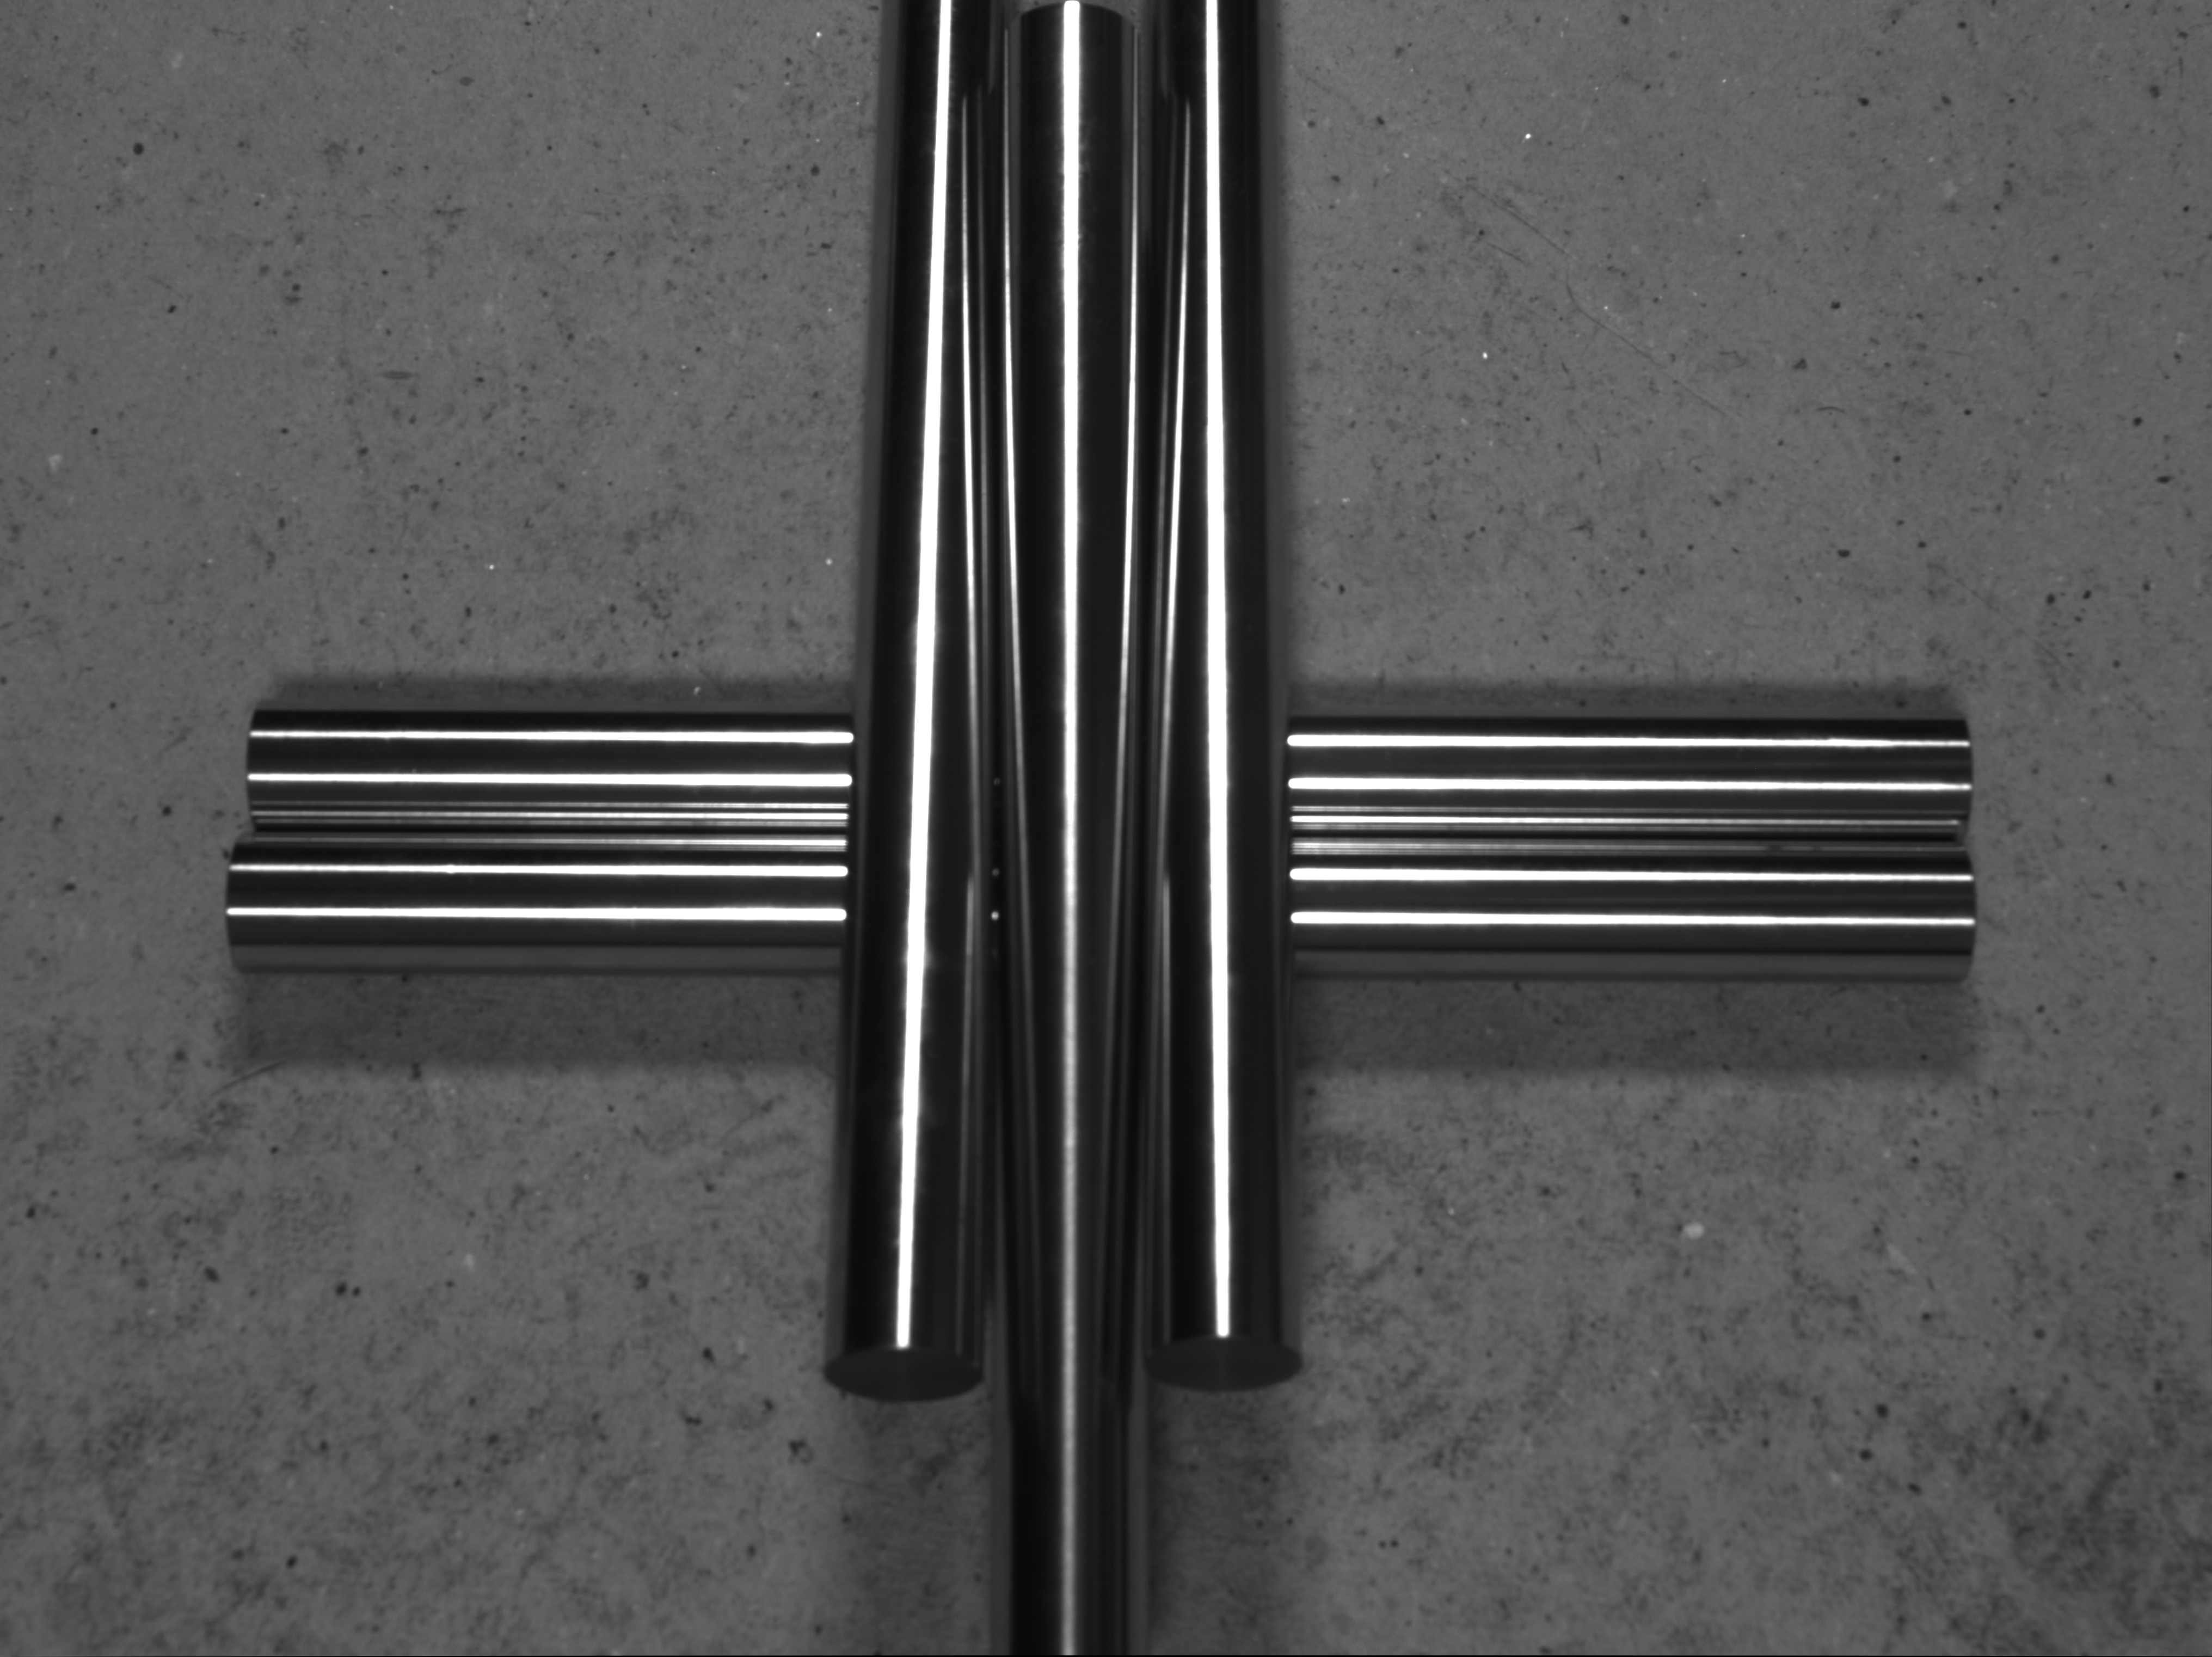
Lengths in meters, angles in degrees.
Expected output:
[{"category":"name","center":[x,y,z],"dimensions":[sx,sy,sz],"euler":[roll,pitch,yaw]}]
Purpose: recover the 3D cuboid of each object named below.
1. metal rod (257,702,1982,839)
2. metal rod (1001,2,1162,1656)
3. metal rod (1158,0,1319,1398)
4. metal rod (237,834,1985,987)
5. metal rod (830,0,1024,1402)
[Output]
[{"category":"metal rod","center":[0.002,-0.009,0.649],"dimensions":[0.300,0.025,0.025],"euler":[0,70,0]},{"category":"metal rod","center":[-0.004,-0.004,0.619],"dimensions":[0.025,0.025,0.300],"euler":[0,69,0]},{"category":"metal rod","center":[0.022,-0.048,0.640],"dimensions":[0.025,0.025,0.300],"euler":[0,62,0]},{"category":"metal rod","center":[0.001,0.014,0.641],"dimensions":[0.300,0.025,0.025],"euler":[0,70,0]},{"category":"metal rod","center":[-0.029,-0.047,0.640],"dimensions":[0.025,0.025,0.300],"euler":[0,62,0]}]
